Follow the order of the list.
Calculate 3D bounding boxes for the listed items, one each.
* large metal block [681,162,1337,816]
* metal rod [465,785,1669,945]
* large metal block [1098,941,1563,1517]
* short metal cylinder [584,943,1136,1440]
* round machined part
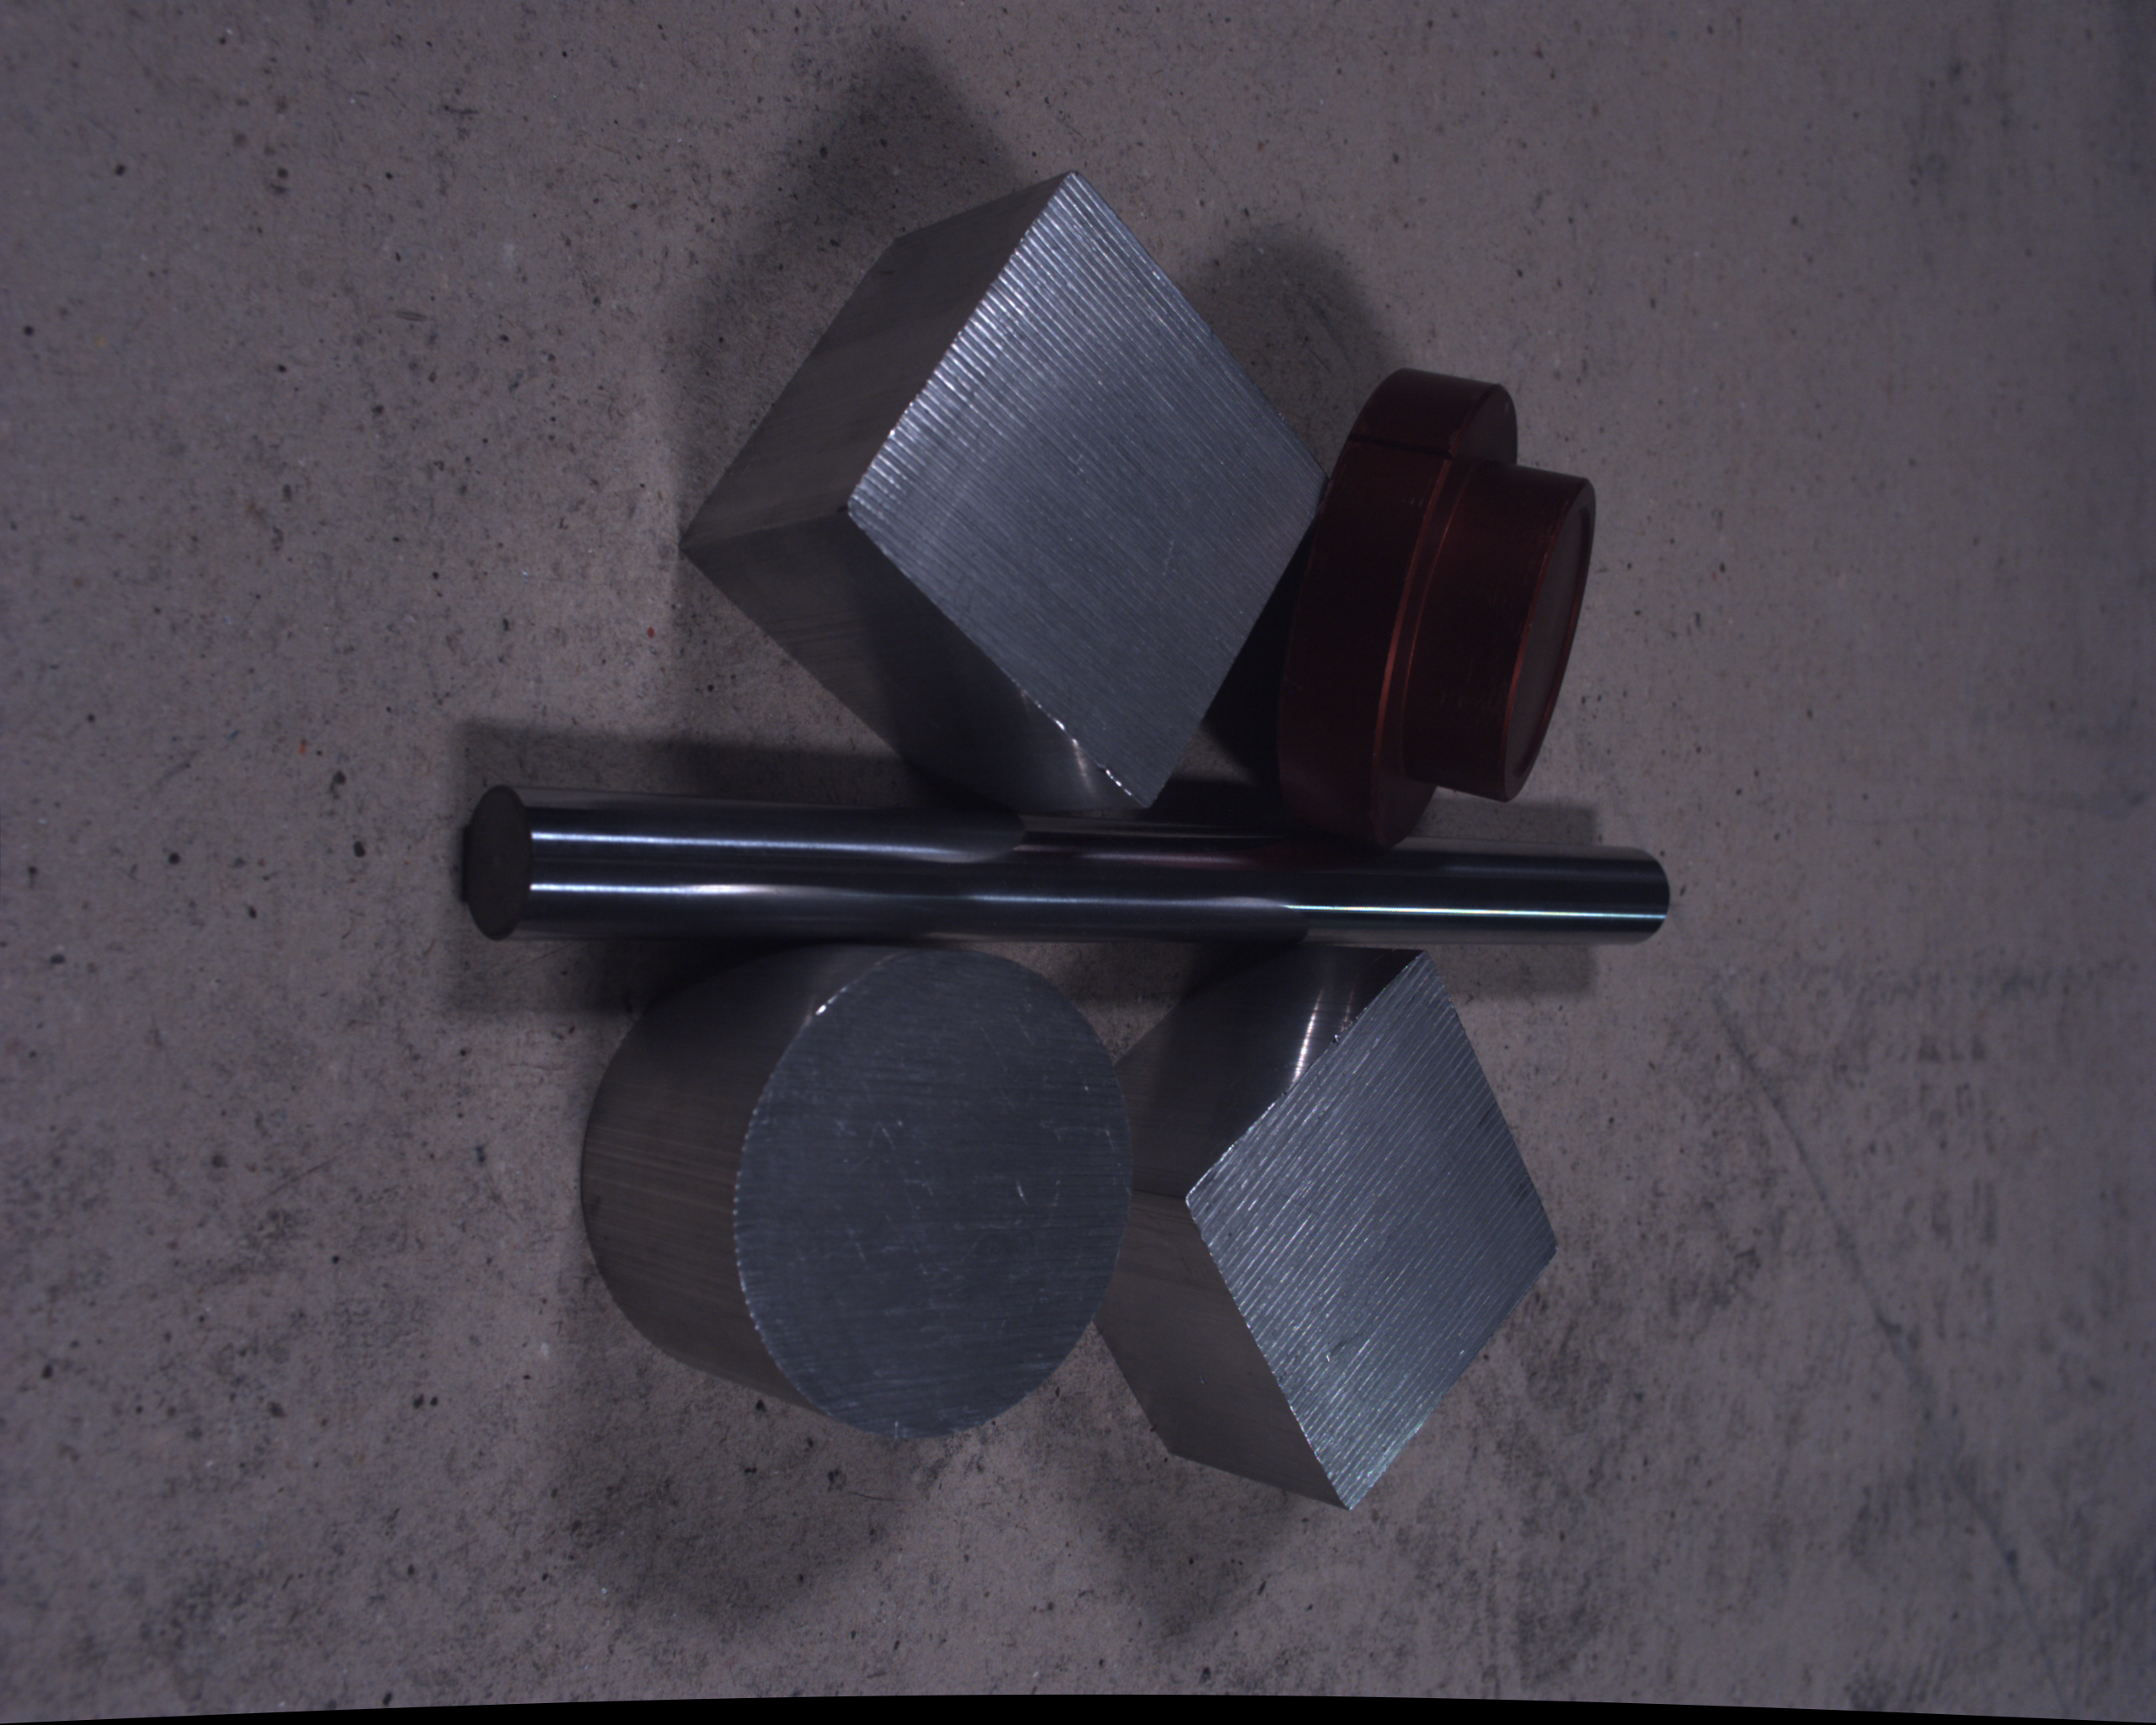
[{"bbox_3d":[-0.010,-0.064,0.380,0.080,0.050,0.080,44,63,-31],"label":"large metal block"},{"bbox_3d":[0.023,0.004,0.429,0.302,0.025,0.025,2,89,-40],"label":"metal rod"},{"bbox_3d":[0.045,0.072,0.430,0.080,0.050,0.080,-41,115,-33],"label":"large metal block"},{"bbox_3d":[-0.037,0.054,0.361,0.081,0.050,0.079,0,90,-40],"label":"short metal cylinder"},{"bbox_3d":[0.078,-0.050,0.432,0.098,0.042,0.097,15,91,-69],"label":"round machined part"}]
